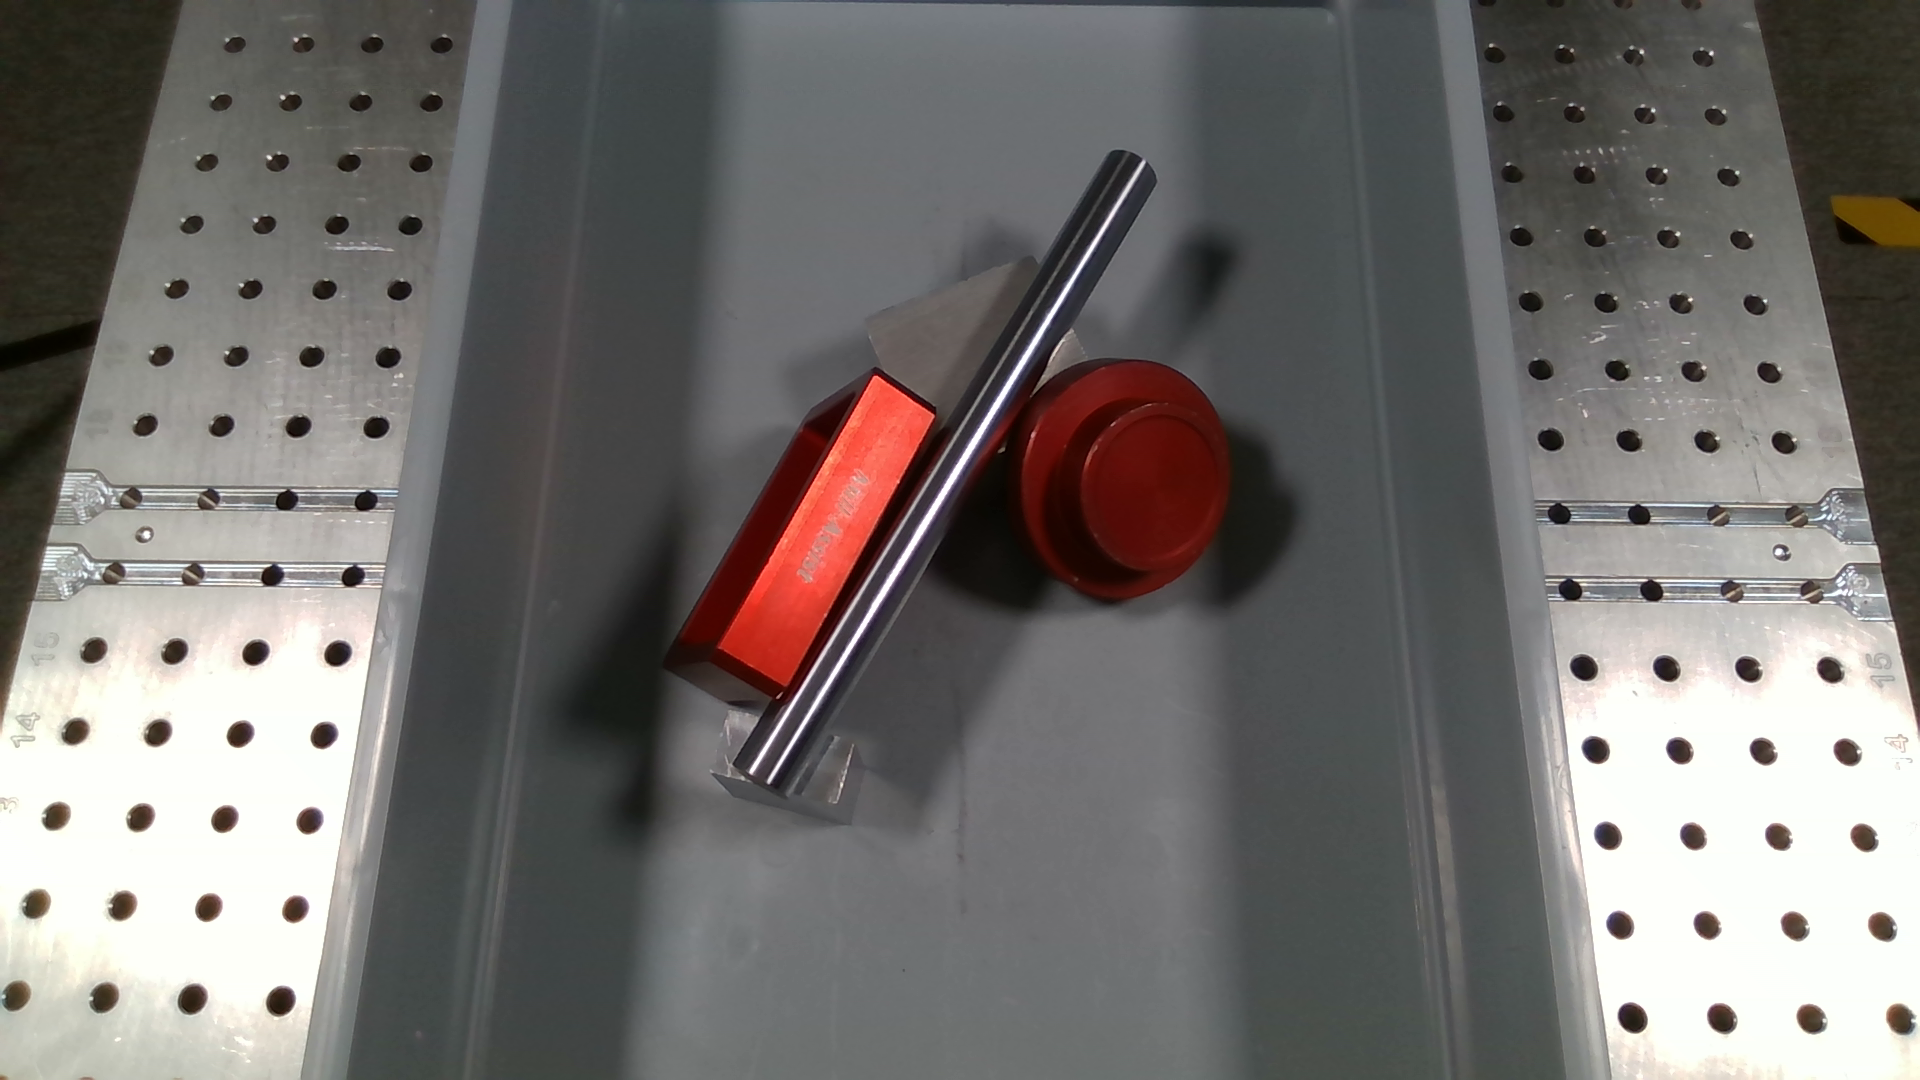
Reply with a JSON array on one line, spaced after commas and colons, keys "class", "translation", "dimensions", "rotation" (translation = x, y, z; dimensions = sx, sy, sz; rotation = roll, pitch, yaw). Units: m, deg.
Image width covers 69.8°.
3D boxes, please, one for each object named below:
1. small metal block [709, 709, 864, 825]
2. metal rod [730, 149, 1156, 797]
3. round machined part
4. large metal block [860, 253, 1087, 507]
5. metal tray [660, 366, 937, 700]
[{"class": "small metal block", "translation": [-0.067, 0.090, 0.541], "dimensions": [0.050, 0.050, 0.025], "rotation": [13, 71, 5]}, {"class": "metal rod", "translation": [0.000, -0.035, 0.545], "dimensions": [0.025, 0.025, 0.299], "rotation": [28, 73, 10]}, {"class": "round machined part", "translation": [0.069, -0.024, 0.559], "dimensions": [0.098, 0.042, 0.098], "rotation": [-5, 102, -24]}, {"class": "large metal block", "translation": [0.010, -0.066, 0.597], "dimensions": [0.080, 0.050, 0.080], "rotation": [-21, 72, -7]}, {"class": "metal tray", "translation": [-0.065, 0.000, 0.549], "dimensions": [0.030, 0.090, 0.130], "rotation": [33, 72, -17]}]
